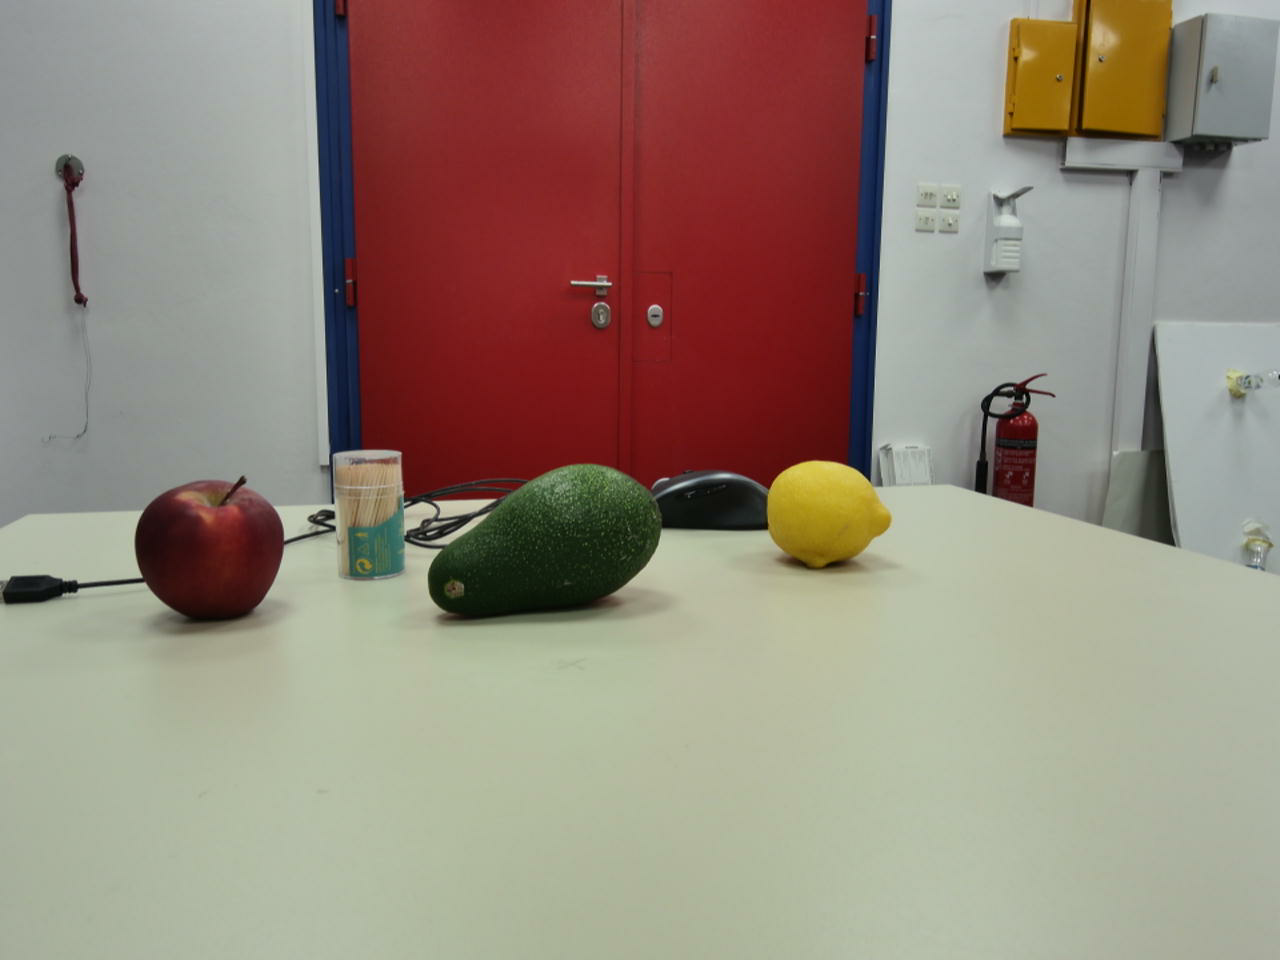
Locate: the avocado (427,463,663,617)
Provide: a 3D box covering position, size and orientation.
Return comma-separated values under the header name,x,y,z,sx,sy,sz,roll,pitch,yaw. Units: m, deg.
name,x,y,z,sx,sy,sz,roll,pitch,yaw
avocado,-0.049,0.030,0.532,0.123,0.076,0.074,-1,6,-7
